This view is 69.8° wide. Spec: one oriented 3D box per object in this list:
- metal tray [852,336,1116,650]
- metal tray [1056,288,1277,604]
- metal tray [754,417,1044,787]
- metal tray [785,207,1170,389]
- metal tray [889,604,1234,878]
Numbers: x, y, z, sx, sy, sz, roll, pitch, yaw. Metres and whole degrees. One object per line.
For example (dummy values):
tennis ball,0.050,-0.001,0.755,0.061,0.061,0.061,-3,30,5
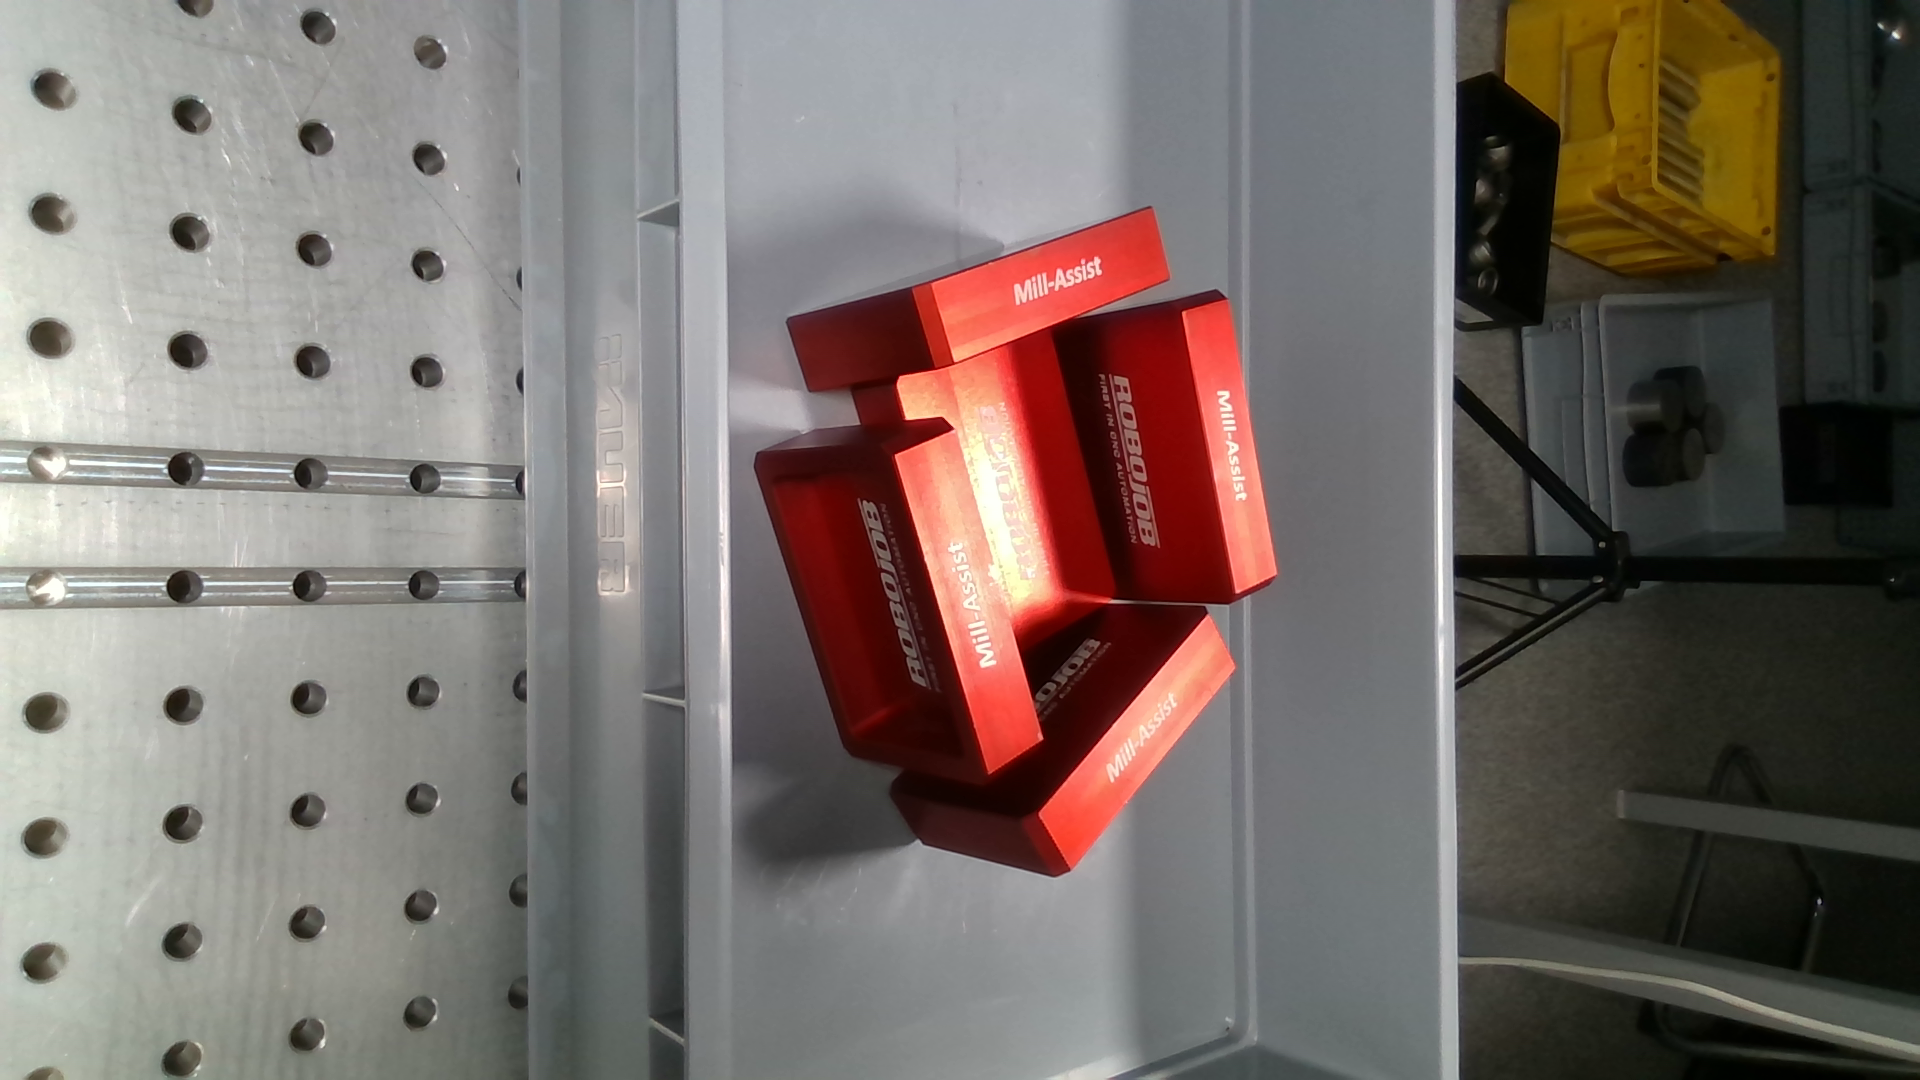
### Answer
metal tray,0.013,-0.020,0.588,0.090,0.030,0.130,-26,106,-37
metal tray,0.085,-0.039,0.610,0.030,0.090,0.130,-21,103,-38
metal tray,-0.024,0.023,0.518,0.030,0.090,0.130,-27,107,-37
metal tray,0.008,-0.096,0.545,0.130,0.090,0.030,-27,107,-37
metal tray,0.043,0.078,0.576,0.130,0.090,0.030,-44,116,-31
